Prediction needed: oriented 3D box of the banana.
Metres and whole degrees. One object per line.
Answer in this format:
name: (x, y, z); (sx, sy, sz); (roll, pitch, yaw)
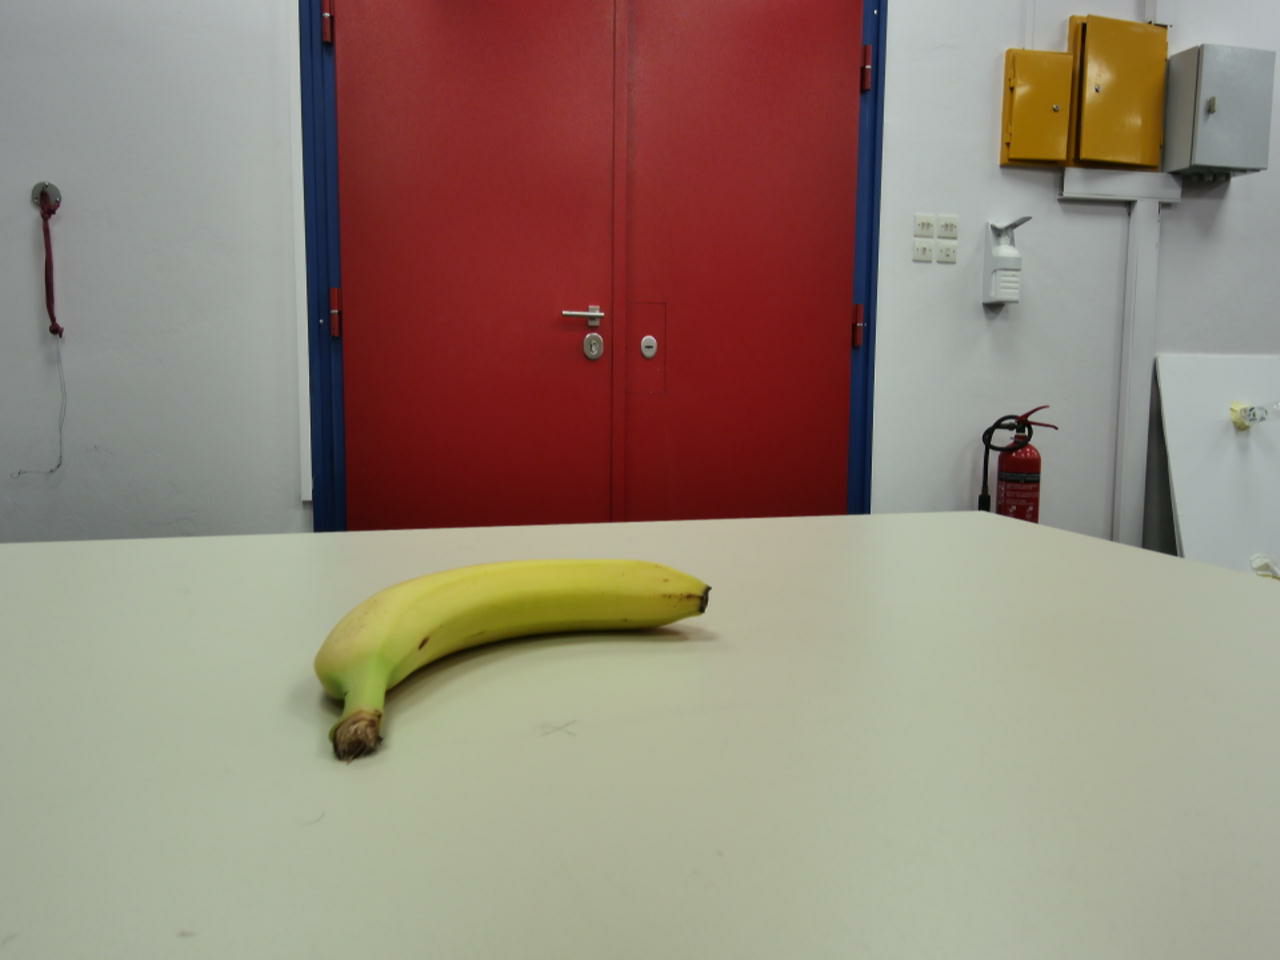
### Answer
banana: (-0.061, 0.059, 0.411); (0.094, 0.041, 0.196); (3, 5, 41)
